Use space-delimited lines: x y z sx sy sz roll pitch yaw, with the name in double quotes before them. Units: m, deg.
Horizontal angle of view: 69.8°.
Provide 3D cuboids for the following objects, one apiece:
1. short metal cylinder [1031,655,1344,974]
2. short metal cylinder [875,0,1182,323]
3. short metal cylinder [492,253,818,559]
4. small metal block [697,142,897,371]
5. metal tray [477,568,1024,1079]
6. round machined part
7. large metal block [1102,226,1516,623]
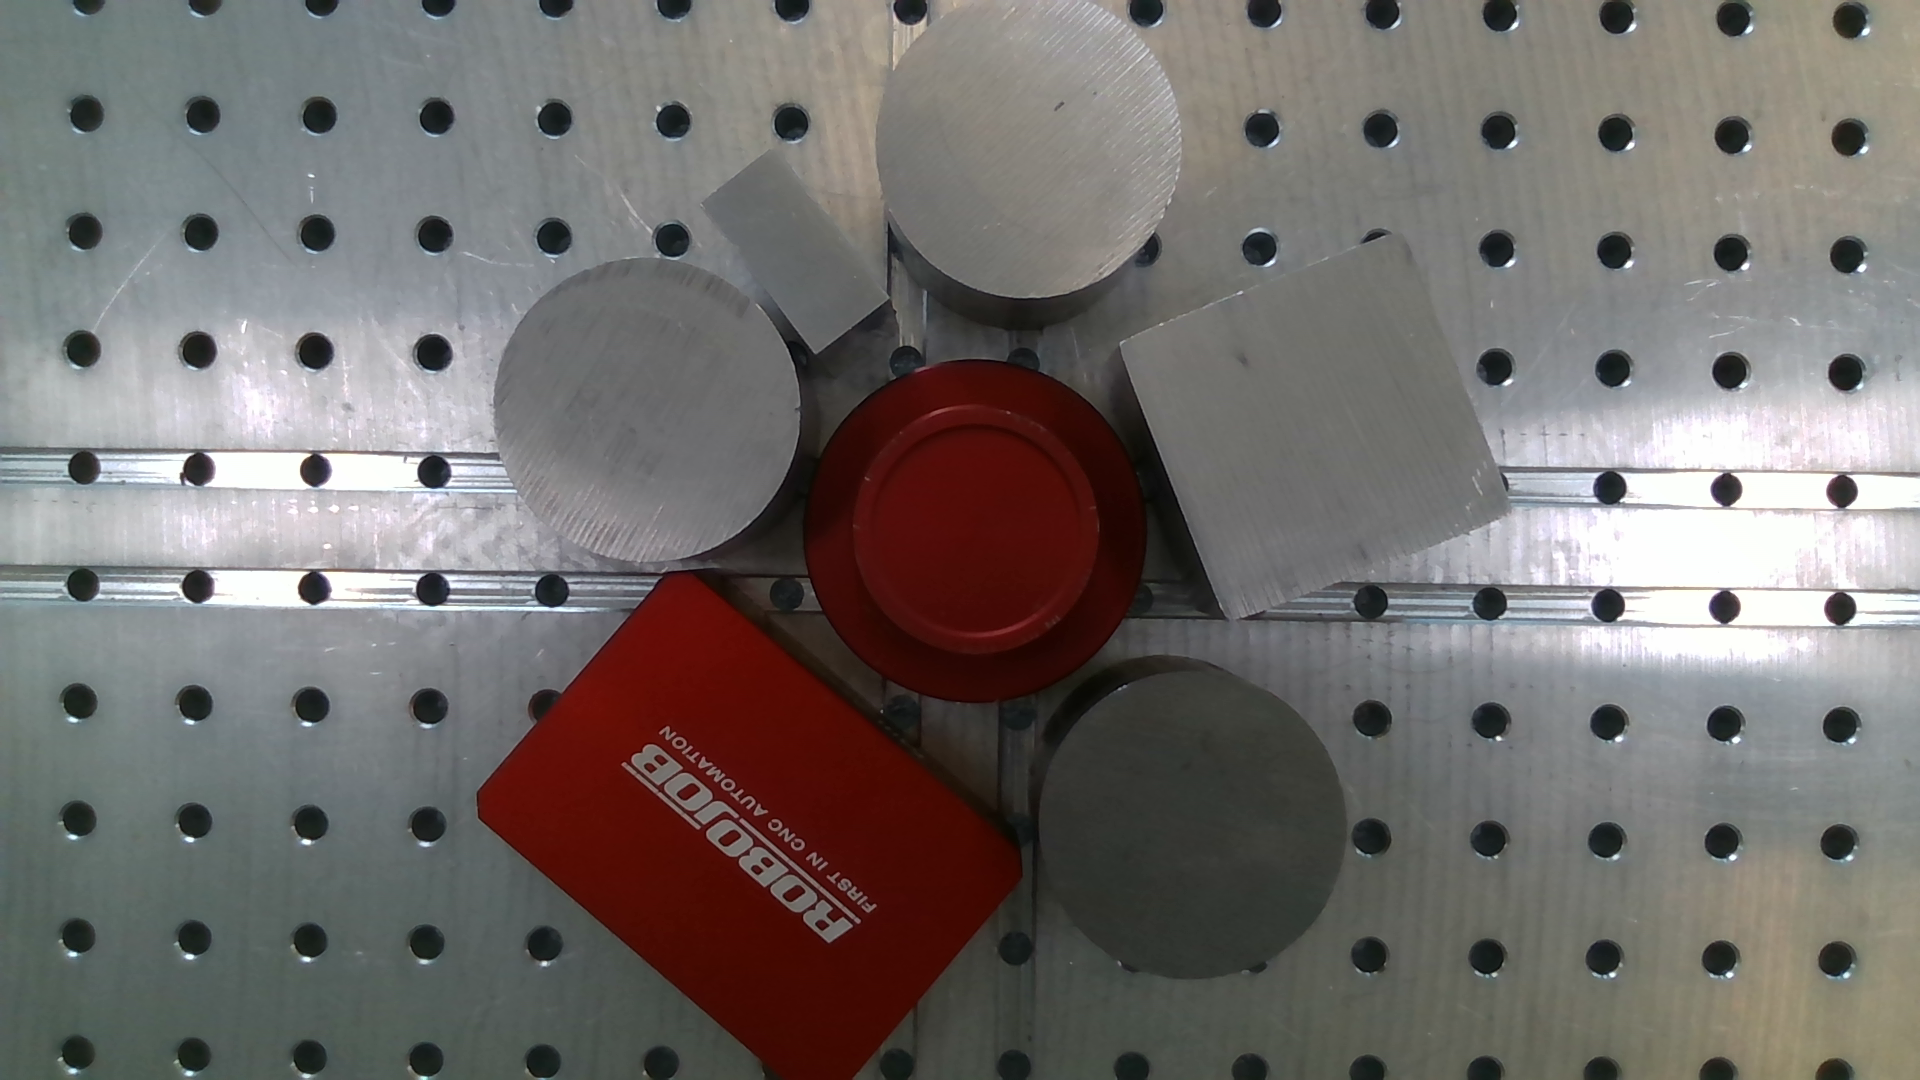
"short metal cylinder" 0.060 0.074 0.385 0.080 0.050 0.080 0 90 0
"short metal cylinder" 0.018 -0.104 0.384 0.080 0.050 0.080 0 90 0
"short metal cylinder" -0.082 -0.035 0.385 0.080 0.050 0.080 0 90 0
"small metal block" -0.043 -0.076 0.384 0.025 0.050 0.050 -38 90 0
"metal tray" -0.058 0.081 0.395 0.130 0.030 0.090 40 90 -1
"round machined part" 0.004 -0.003 0.389 0.098 0.042 0.098 0 90 0
"large metal block" 0.094 -0.030 0.385 0.080 0.050 0.080 -22 90 0
